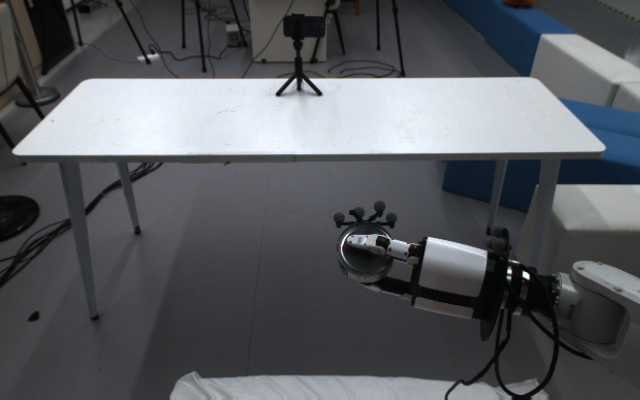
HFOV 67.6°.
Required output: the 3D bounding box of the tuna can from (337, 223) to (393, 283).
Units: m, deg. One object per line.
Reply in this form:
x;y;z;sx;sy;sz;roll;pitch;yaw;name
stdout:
0.068;0.077;0.712;0.085;0.034;0.085;-2;58;2;tuna can
